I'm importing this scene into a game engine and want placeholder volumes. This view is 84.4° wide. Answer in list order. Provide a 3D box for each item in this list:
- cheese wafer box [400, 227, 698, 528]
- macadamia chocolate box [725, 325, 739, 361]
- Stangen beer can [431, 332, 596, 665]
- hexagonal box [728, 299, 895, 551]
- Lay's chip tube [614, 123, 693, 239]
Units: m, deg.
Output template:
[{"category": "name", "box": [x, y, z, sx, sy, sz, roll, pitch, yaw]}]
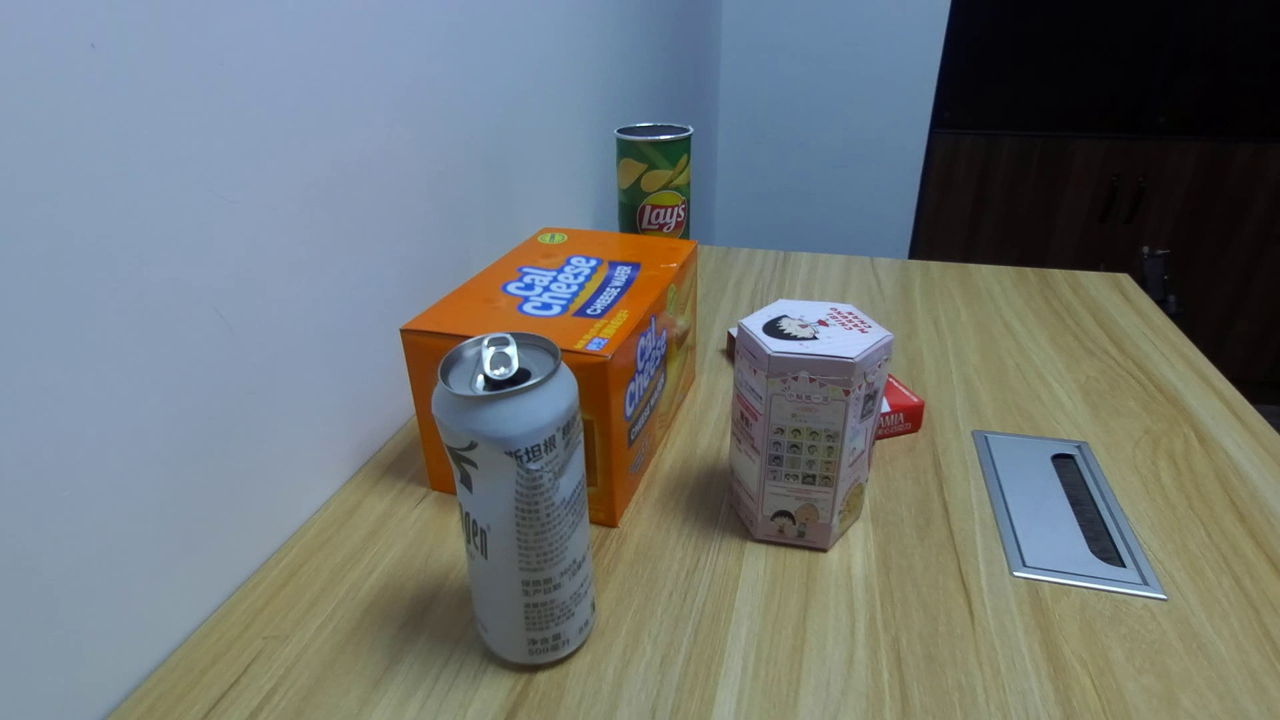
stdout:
[{"category": "cheese wafer box", "box": [-0.050, -0.003, 0.543, 0.222, 0.148, 0.129, -56, 150, -57]}, {"category": "macadamia chocolate box", "box": [0.008, 0.016, 0.546, 0.178, 0.027, 0.096, -60, 153, -52]}, {"category": "Stangen beer can", "box": [-0.062, 0.073, 0.353, 0.070, 0.069, 0.173, -89, 177, -62]}, {"category": "hexagonal box", "box": [0.104, 0.039, 0.442, 0.091, 0.084, 0.136, -124, -152, -58]}, {"category": "Lay's chip tube", "box": [0.015, -0.117, 0.667, 0.071, 0.071, 0.203, -57, 150, -56]}]
